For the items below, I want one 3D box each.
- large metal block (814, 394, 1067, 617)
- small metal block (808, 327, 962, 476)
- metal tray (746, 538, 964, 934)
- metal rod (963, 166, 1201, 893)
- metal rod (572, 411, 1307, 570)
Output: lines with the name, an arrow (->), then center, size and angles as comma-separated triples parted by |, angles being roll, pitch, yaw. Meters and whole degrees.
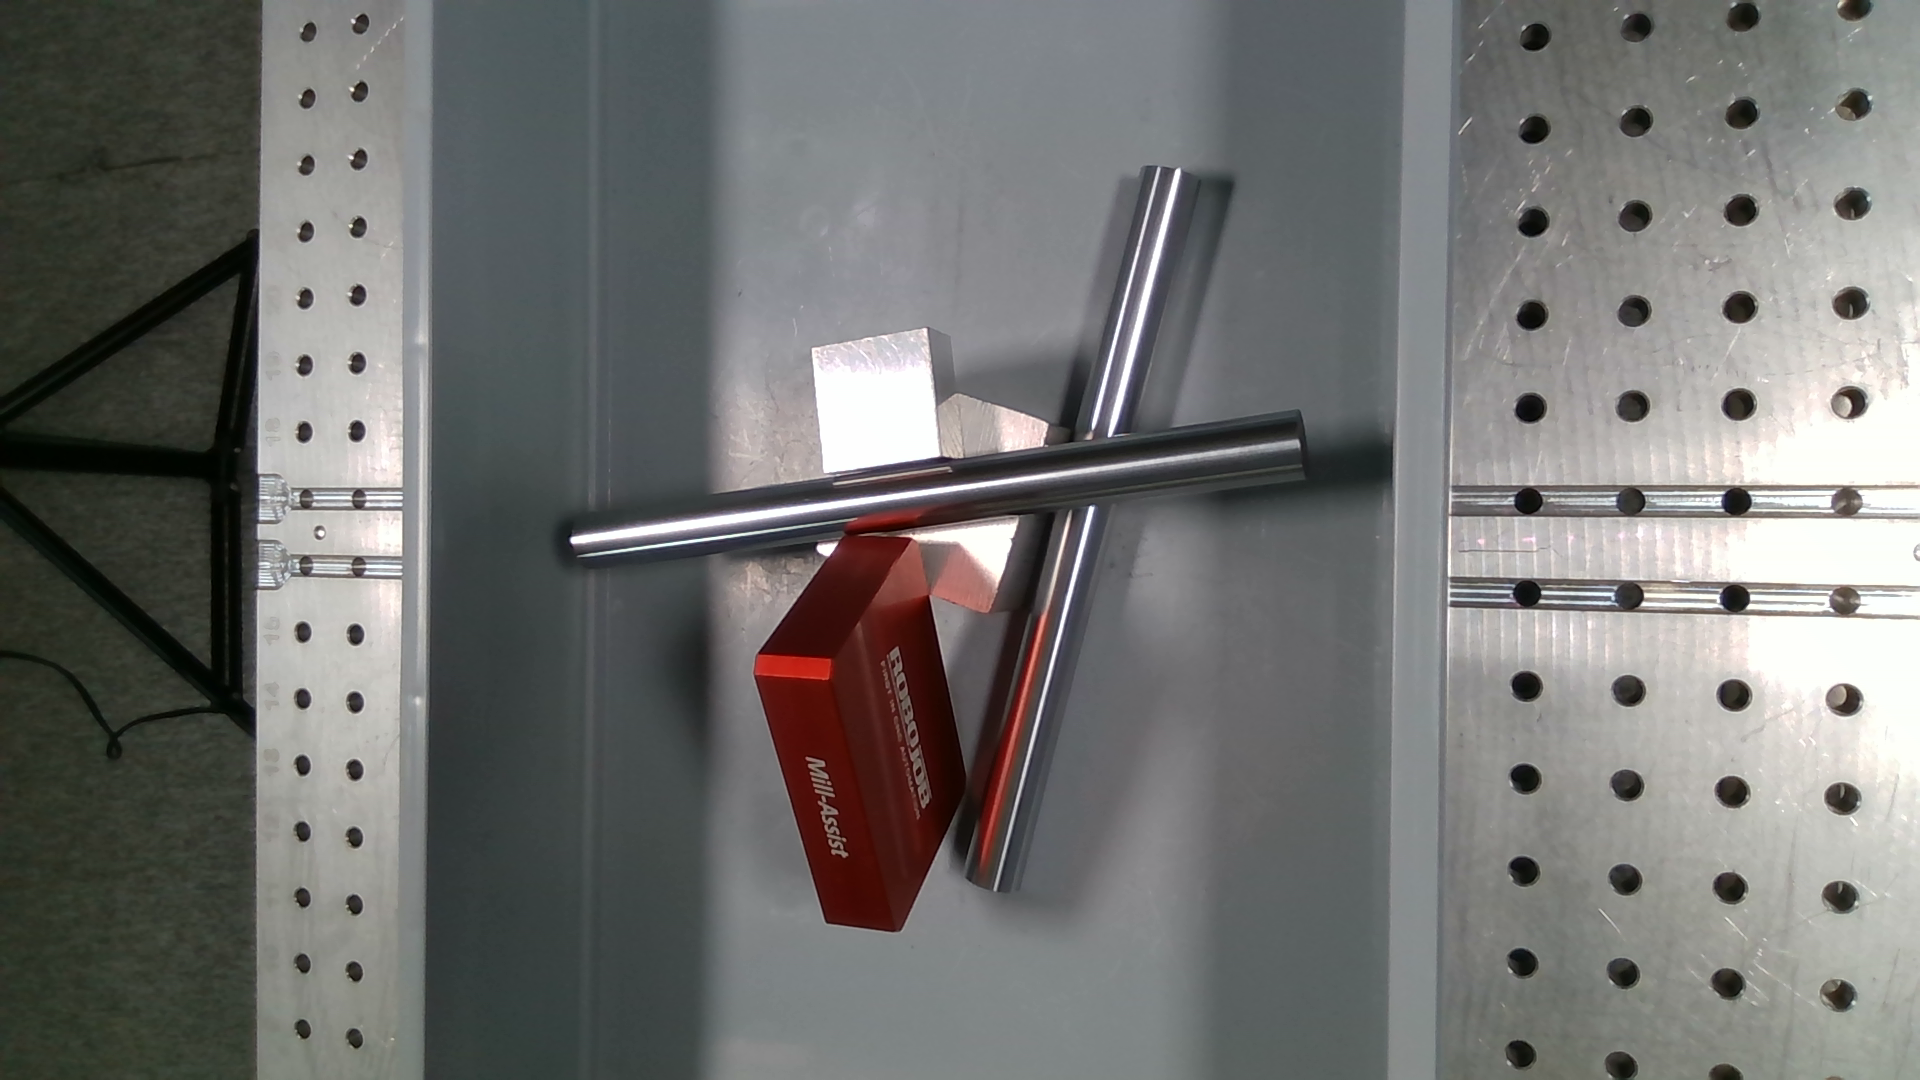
large metal block -> -0.004, -0.020, 0.573 | 0.080, 0.050, 0.080 | 19, 97, 19
small metal block -> -0.029, -0.053, 0.541 | 0.050, 0.025, 0.050 | -7, 88, 20
metal tray -> -0.036, 0.076, 0.536 | 0.030, 0.090, 0.130 | 1, 122, 21
metal rod -> 0.049, -0.001, 0.567 | 0.025, 0.025, 0.300 | 16, 96, 20
metal rod -> -0.019, -0.016, 0.538 | 0.300, 0.025, 0.025 | -7, 88, 20
